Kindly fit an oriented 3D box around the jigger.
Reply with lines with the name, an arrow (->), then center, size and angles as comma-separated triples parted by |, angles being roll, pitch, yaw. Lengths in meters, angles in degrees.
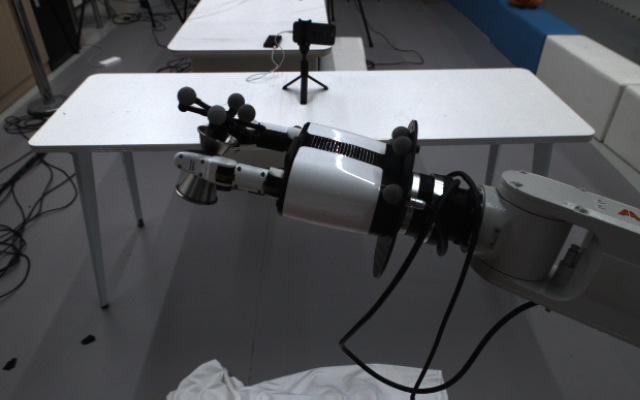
jigger -> -0.112, -0.034, 0.481 | 0.043, 0.071, 0.043 | 23, 19, -8
